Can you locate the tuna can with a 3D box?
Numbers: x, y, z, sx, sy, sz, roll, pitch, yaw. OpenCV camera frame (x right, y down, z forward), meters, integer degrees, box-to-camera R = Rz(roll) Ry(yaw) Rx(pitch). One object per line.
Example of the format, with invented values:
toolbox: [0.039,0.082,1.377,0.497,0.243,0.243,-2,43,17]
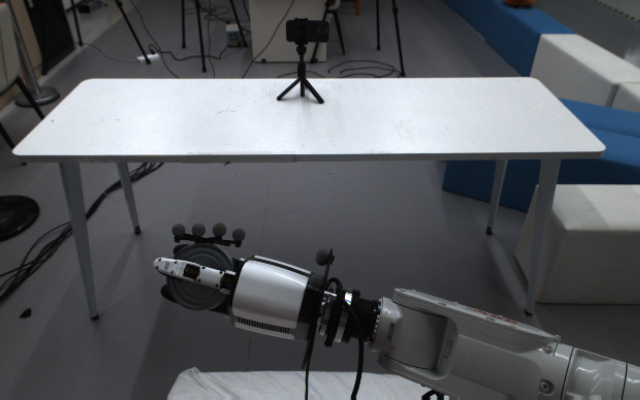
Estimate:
tuna can: [-0.150,0.101,0.628,0.085,0.034,0.085,0,77,-1]
